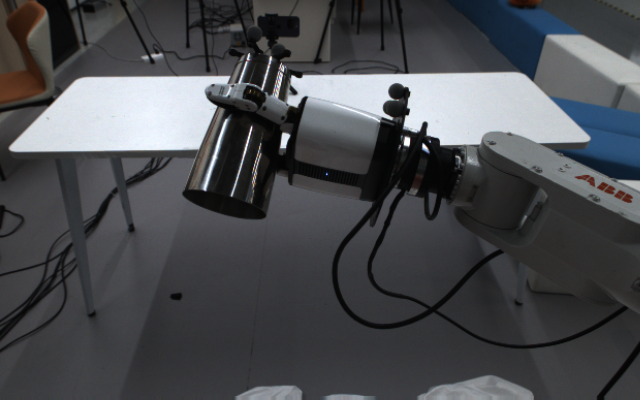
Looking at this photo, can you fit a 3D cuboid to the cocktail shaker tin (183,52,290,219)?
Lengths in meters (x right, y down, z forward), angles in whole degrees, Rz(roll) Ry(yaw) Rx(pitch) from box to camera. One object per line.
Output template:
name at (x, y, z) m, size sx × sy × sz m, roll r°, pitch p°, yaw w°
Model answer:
cocktail shaker tin at (-0.083, -0.072, 0.539) m, size 0.093 × 0.093 × 0.170 m, roll 10°, pitch 73°, yaw 12°
